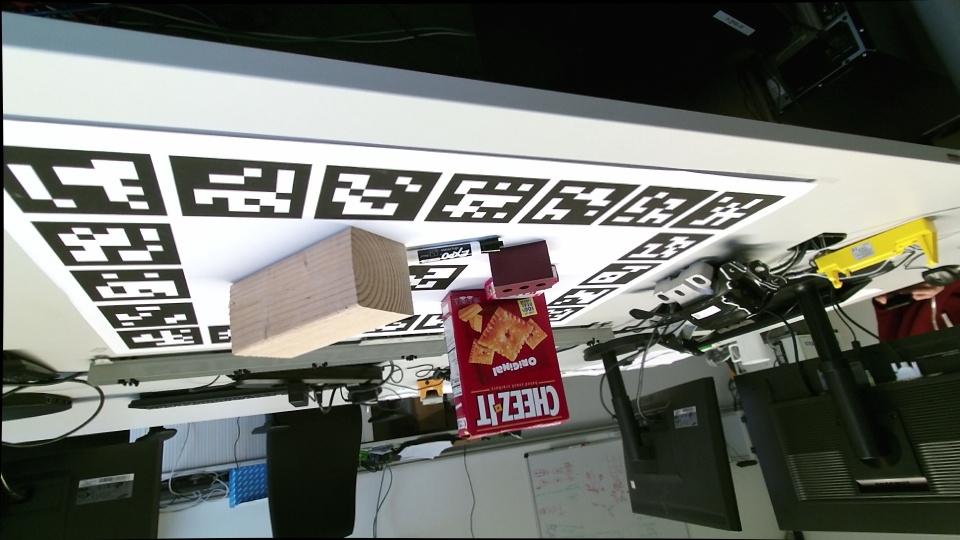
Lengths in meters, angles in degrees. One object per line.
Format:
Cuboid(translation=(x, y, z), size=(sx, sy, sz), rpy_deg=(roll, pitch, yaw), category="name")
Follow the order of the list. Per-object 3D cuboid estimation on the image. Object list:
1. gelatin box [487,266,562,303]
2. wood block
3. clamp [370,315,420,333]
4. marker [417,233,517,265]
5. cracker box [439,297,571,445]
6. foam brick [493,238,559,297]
Cuboid(translation=(0.065, 0.020, 0.792), size=(0.090, 0.030, 0.073), rpy_deg=(-2, 154, -23), category="gelatin box")
Cuboid(translation=(-0.181, 0.035, 0.624), size=(0.207, 0.090, 0.090), rpy_deg=(-21, 159, 27), category="wood block")
Cuboid(translation=(-0.204, 0.077, 0.773), size=(0.203, 0.036, 0.166), rpy_deg=(-15, 157, 4), category="clamp")
Cuboid(translation=(-0.015, -0.026, 0.646), size=(0.121, 0.019, 0.020), rpy_deg=(-10, 156, -6), category="marker")
Cuboid(translation=(0.036, 0.152, 0.833), size=(0.165, 0.212, 0.072), rpy_deg=(-2, 157, -20), category="cracker box")
Cuboid(translation=(0.059, -0.002, 0.703), size=(0.078, 0.051, 0.053), rpy_deg=(-12, 156, -1), category="foam brick")
